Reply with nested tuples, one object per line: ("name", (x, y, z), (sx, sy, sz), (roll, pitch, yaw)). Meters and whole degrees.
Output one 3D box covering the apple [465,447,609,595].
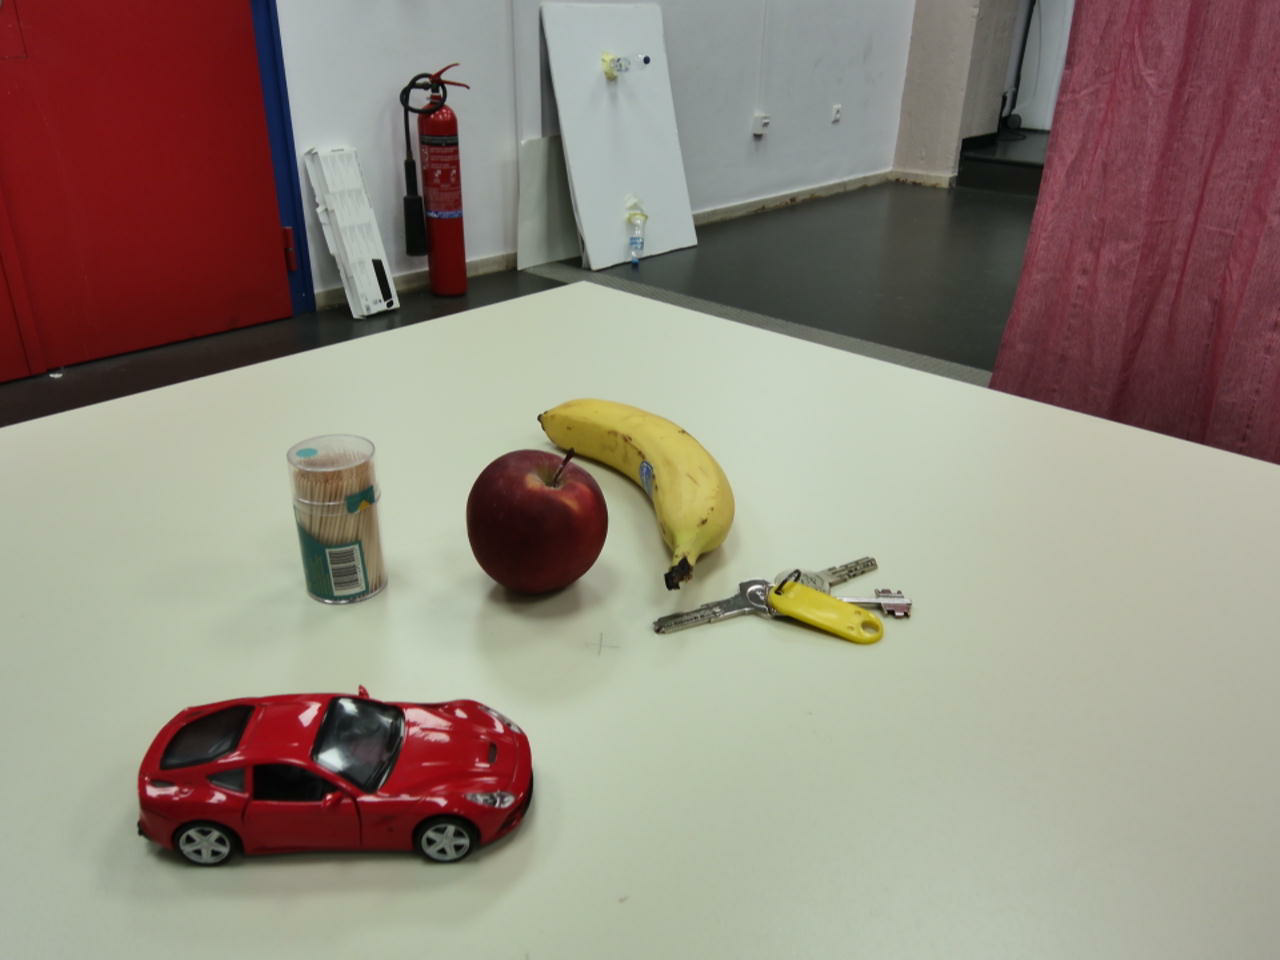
("apple", (-0.051, 0.020, 0.494), (0.070, 0.072, 0.070), (1, 25, 0))
